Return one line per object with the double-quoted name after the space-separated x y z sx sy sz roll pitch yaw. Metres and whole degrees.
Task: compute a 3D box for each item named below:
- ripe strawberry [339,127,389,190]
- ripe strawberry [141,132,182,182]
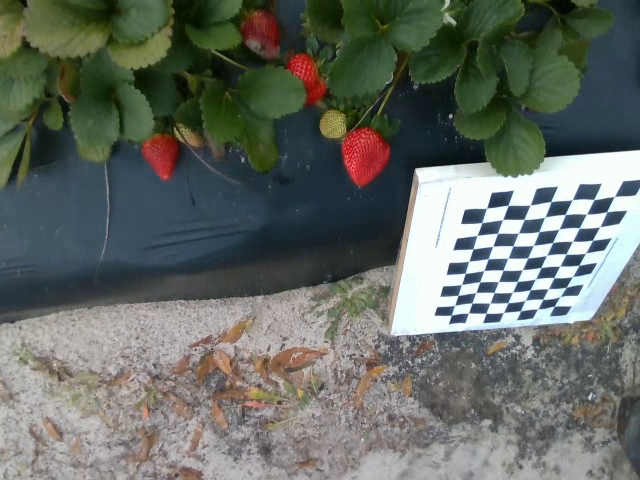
0.043 -0.078 0.649 0.057 0.065 0.056 -15 -35 37 "ripe strawberry"
-0.155 -0.084 0.629 0.043 0.052 0.041 -13 5 13 "ripe strawberry"
